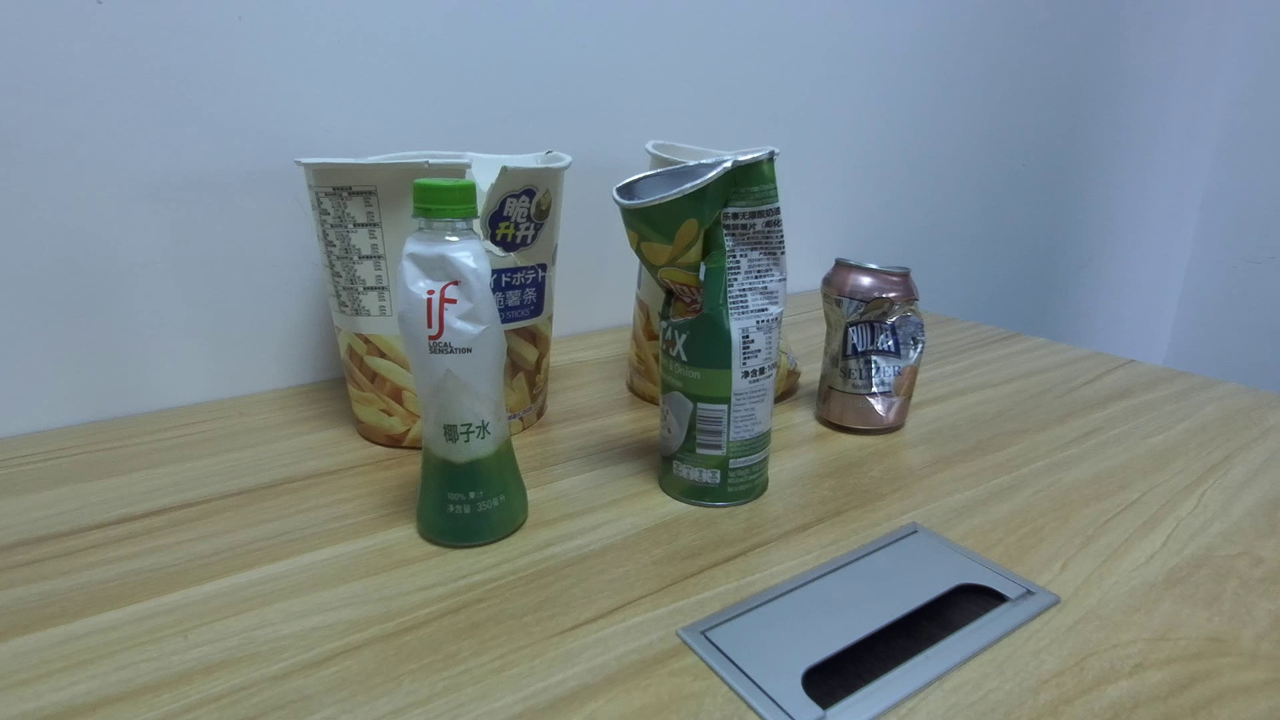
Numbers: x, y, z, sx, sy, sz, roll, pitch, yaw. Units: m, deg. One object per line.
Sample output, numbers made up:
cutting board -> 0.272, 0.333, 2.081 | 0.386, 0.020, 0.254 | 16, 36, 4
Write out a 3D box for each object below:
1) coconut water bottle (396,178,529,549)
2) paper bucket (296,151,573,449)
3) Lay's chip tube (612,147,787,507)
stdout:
coconut water bottle -> -0.095, 0.002, 0.376 | 0.067, 0.187, 0.067 | 0, 16, 0
paper bucket -> -0.142, -0.053, 0.524 | 0.202, 0.197, 0.146 | 4, 21, 13
Lay's chip tube -> 0.037, -0.014, 0.405 | 0.071, 0.199, 0.078 | -26, 28, -36
